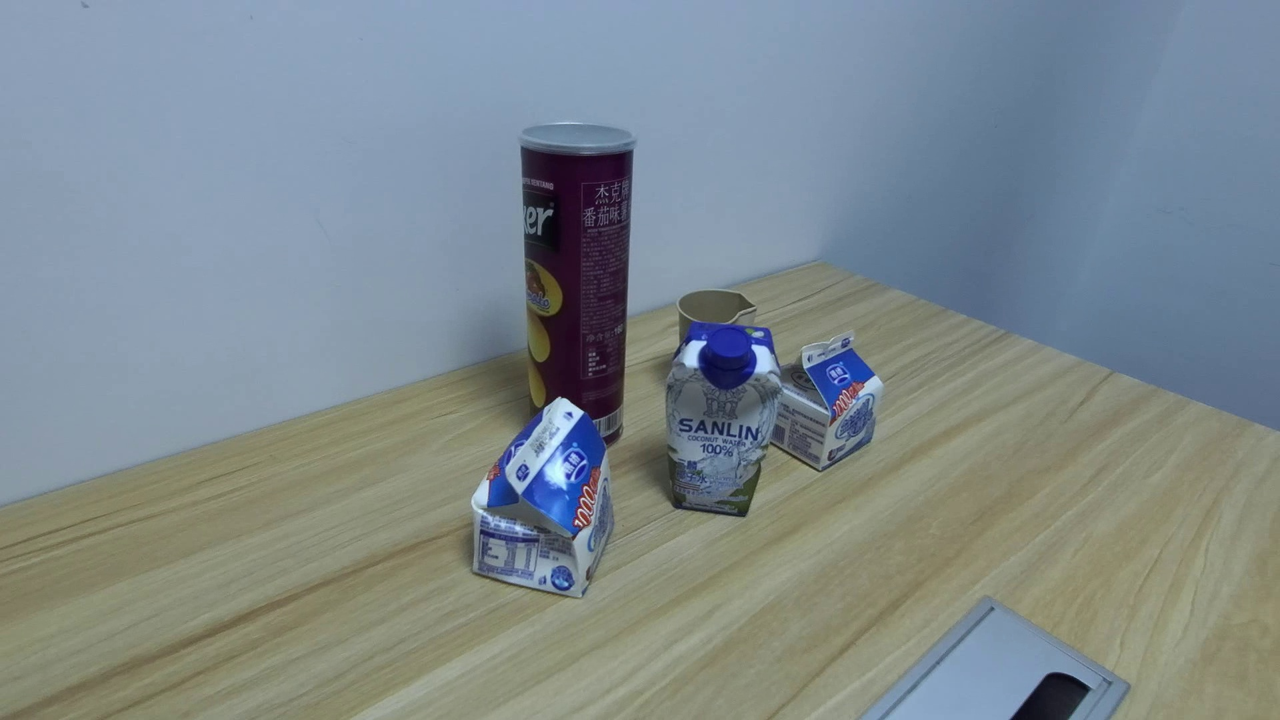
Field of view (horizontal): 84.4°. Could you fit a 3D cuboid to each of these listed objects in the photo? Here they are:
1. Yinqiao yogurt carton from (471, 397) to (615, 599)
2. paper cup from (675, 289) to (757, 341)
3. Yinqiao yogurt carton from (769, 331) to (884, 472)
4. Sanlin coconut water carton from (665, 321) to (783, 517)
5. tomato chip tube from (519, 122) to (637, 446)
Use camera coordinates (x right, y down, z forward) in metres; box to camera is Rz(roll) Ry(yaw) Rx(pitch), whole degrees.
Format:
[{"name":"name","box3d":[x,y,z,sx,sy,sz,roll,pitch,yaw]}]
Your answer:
[{"name":"Yinqiao yogurt carton","box3d":[-0.057,0.078,0.437,0.077,0.093,0.083,9,29,12]},{"name":"paper cup","box3d":[0.063,-0.010,0.612,0.069,0.081,0.073,-9,29,-17]},{"name":"Yinqiao yogurt carton","box3d":[0.144,0.023,0.562,0.076,0.092,0.073,-18,34,-37]},{"name":"Sanlin coconut water carton","box3d":[0.054,0.036,0.476,0.078,0.142,0.057,6,33,6]},{"name":"tomato chip tube","box3d":[-0.045,-0.046,0.521,0.078,0.234,0.078,2,29,-1]}]
